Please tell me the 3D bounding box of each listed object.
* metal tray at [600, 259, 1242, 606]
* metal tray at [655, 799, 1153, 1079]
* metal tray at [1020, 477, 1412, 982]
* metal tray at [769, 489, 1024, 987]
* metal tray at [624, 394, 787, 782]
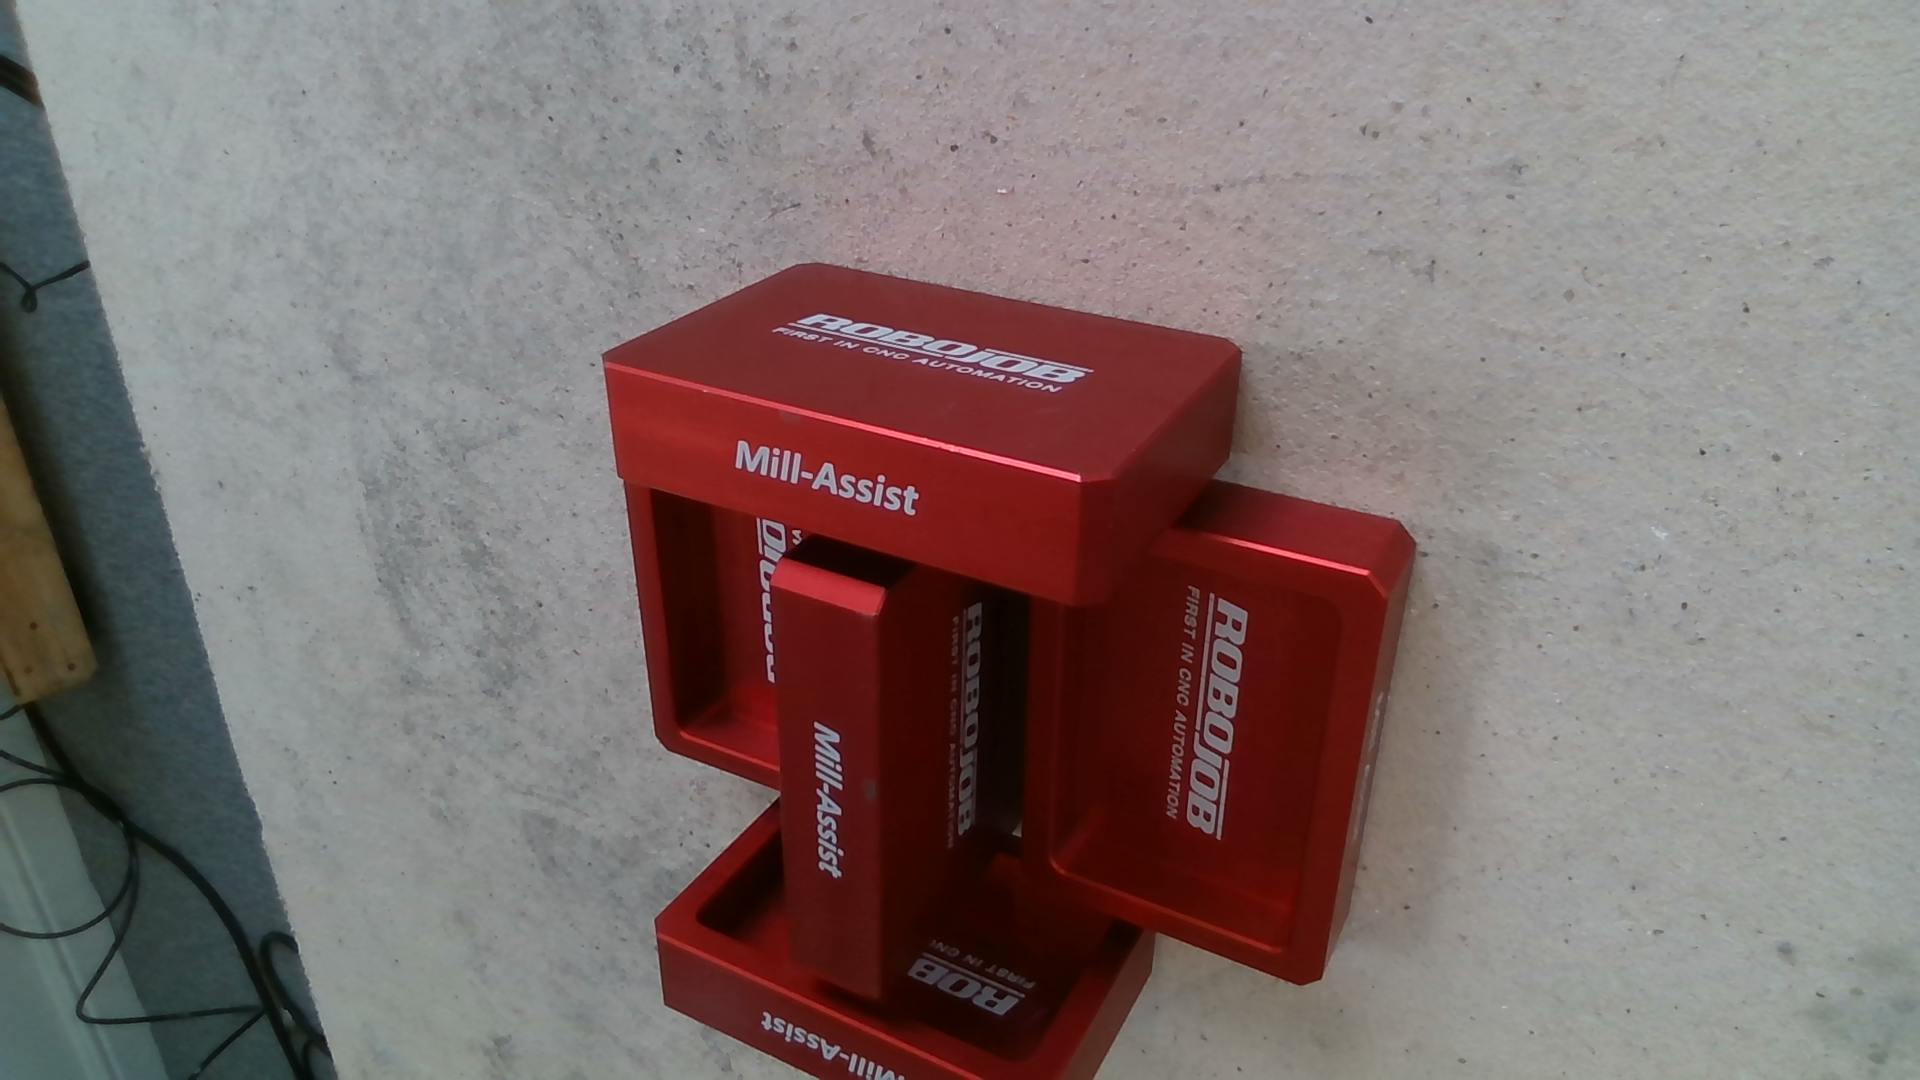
[{"bbox_3d":[-0.009,-0.033,0.334,0.130,0.090,0.030,16,123,25],"label":"metal tray"},{"bbox_3d":[-0.016,0.124,0.425,0.130,0.090,0.030,15,122,24],"label":"metal tray"},{"bbox_3d":[0.064,0.048,0.373,0.090,0.030,0.130,16,123,27],"label":"metal tray"},{"bbox_3d":[-0.011,0.045,0.381,0.030,0.090,0.130,16,123,25],"label":"metal tray"},{"bbox_3d":[-0.056,0.016,0.431,0.090,0.030,0.130,14,122,23],"label":"metal tray"}]
